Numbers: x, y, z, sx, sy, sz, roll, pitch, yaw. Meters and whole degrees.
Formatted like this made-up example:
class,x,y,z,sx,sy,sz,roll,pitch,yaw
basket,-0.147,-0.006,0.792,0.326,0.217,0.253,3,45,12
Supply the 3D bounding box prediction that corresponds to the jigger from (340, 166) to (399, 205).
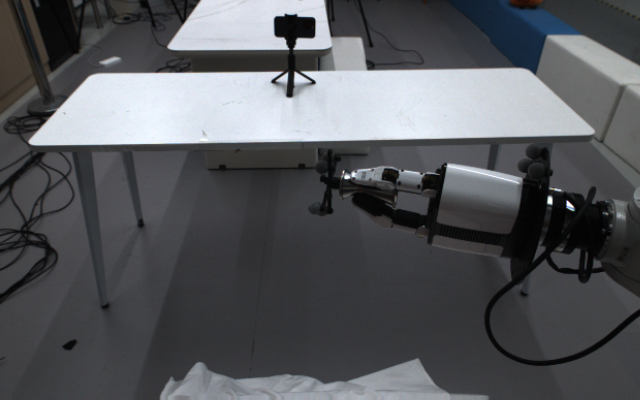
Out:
class,x,y,z,sx,sy,sz,roll,pitch,yaw
jigger,0.068,-0.020,0.600,0.071,0.043,0.043,7,35,13
